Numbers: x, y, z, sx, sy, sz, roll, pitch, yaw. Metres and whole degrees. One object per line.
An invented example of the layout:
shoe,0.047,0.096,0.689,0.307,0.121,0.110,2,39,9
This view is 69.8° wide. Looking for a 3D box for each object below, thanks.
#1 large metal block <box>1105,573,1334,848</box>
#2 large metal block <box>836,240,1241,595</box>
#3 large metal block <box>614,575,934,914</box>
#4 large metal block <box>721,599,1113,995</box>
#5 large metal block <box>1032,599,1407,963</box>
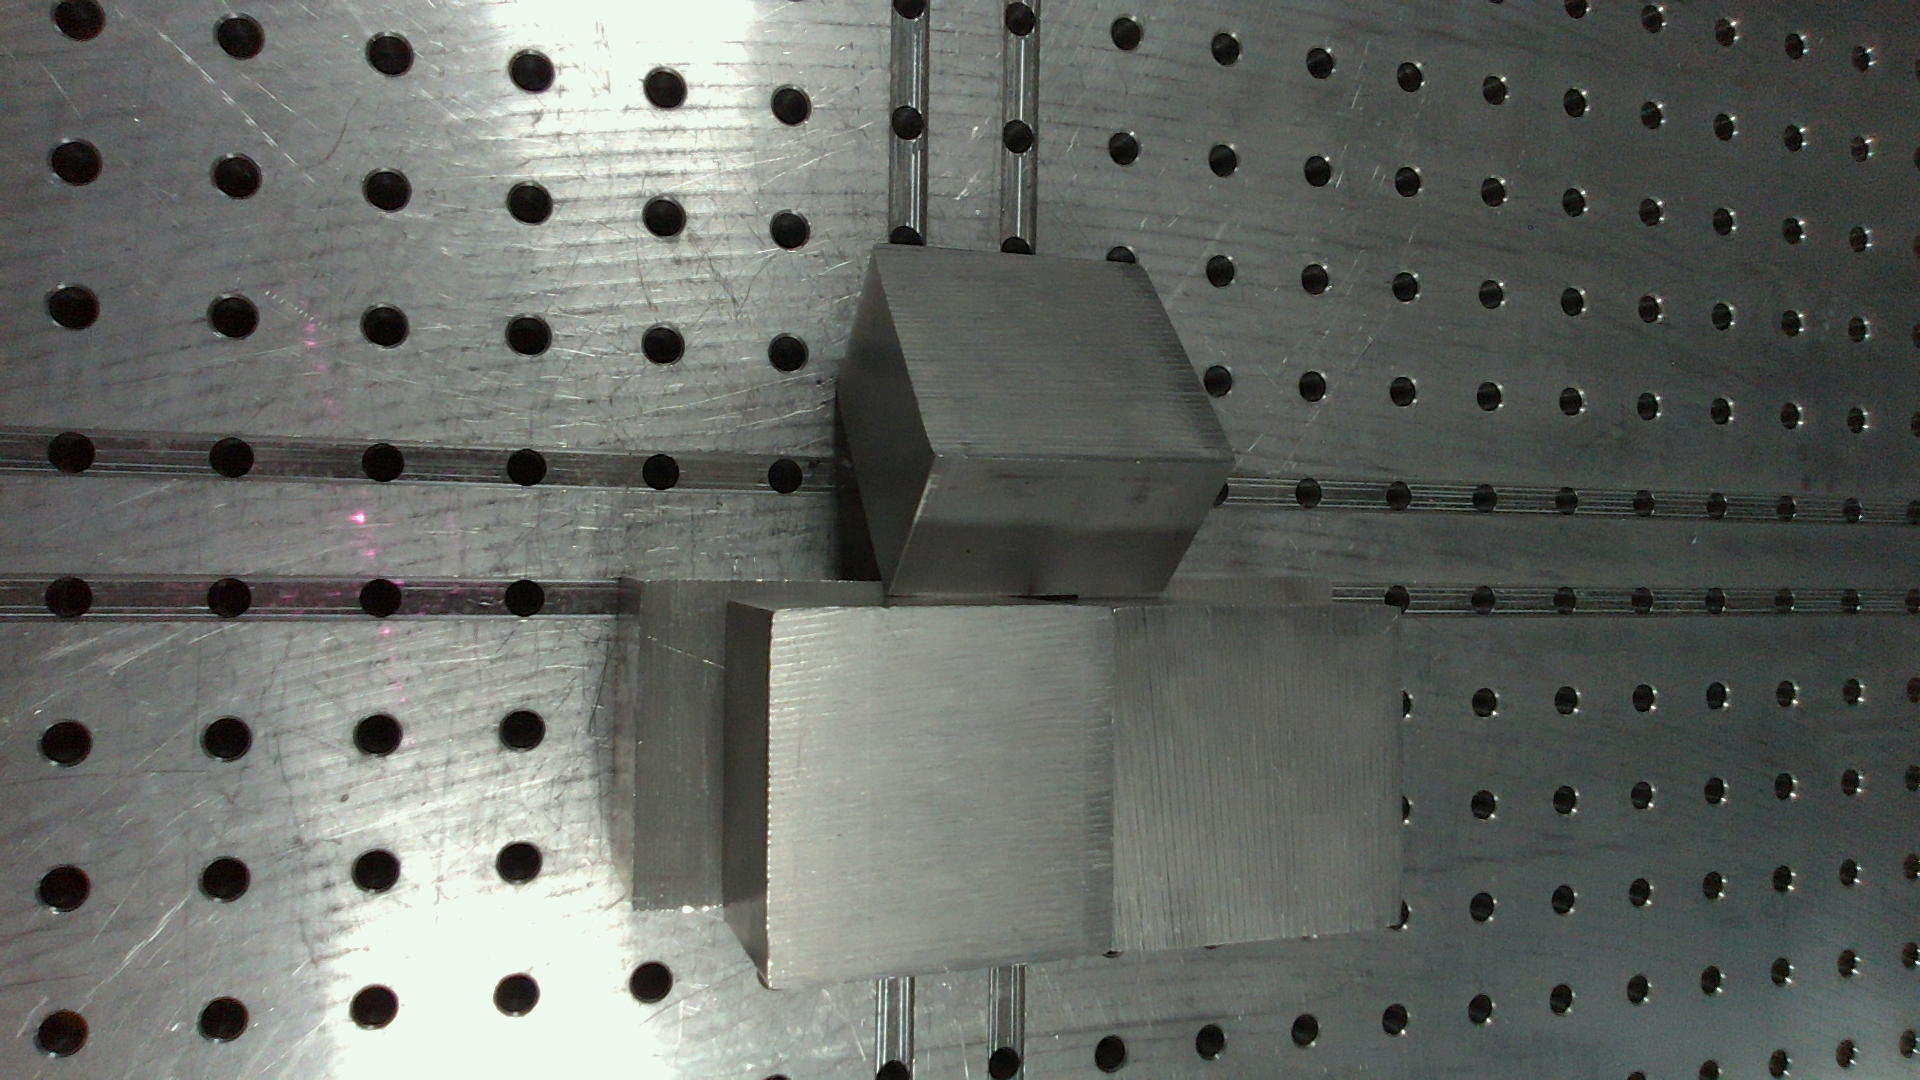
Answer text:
large metal block,0.062,0.050,0.405,0.080,0.050,0.080,-1,91,-20
large metal block,0.016,-0.032,0.367,0.080,0.050,0.080,0,48,-20
large metal block,-0.049,0.050,0.366,0.080,0.050,0.080,2,90,-20
large metal block,-0.011,0.054,0.323,0.080,0.050,0.080,0,90,-20
large metal block,0.065,0.056,0.351,0.080,0.050,0.080,0,90,-20
